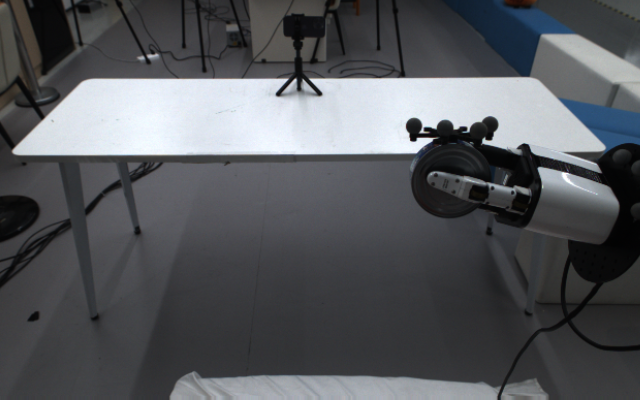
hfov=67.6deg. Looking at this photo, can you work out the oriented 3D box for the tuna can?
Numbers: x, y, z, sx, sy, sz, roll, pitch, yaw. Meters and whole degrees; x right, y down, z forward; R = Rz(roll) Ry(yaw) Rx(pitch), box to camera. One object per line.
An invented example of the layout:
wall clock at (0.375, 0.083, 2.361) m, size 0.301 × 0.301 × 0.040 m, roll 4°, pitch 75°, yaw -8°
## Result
tuna can at (0.145, -0.027, 0.542) m, size 0.085 × 0.085 × 0.034 m, roll 4°, pitch 18°, yaw 3°
